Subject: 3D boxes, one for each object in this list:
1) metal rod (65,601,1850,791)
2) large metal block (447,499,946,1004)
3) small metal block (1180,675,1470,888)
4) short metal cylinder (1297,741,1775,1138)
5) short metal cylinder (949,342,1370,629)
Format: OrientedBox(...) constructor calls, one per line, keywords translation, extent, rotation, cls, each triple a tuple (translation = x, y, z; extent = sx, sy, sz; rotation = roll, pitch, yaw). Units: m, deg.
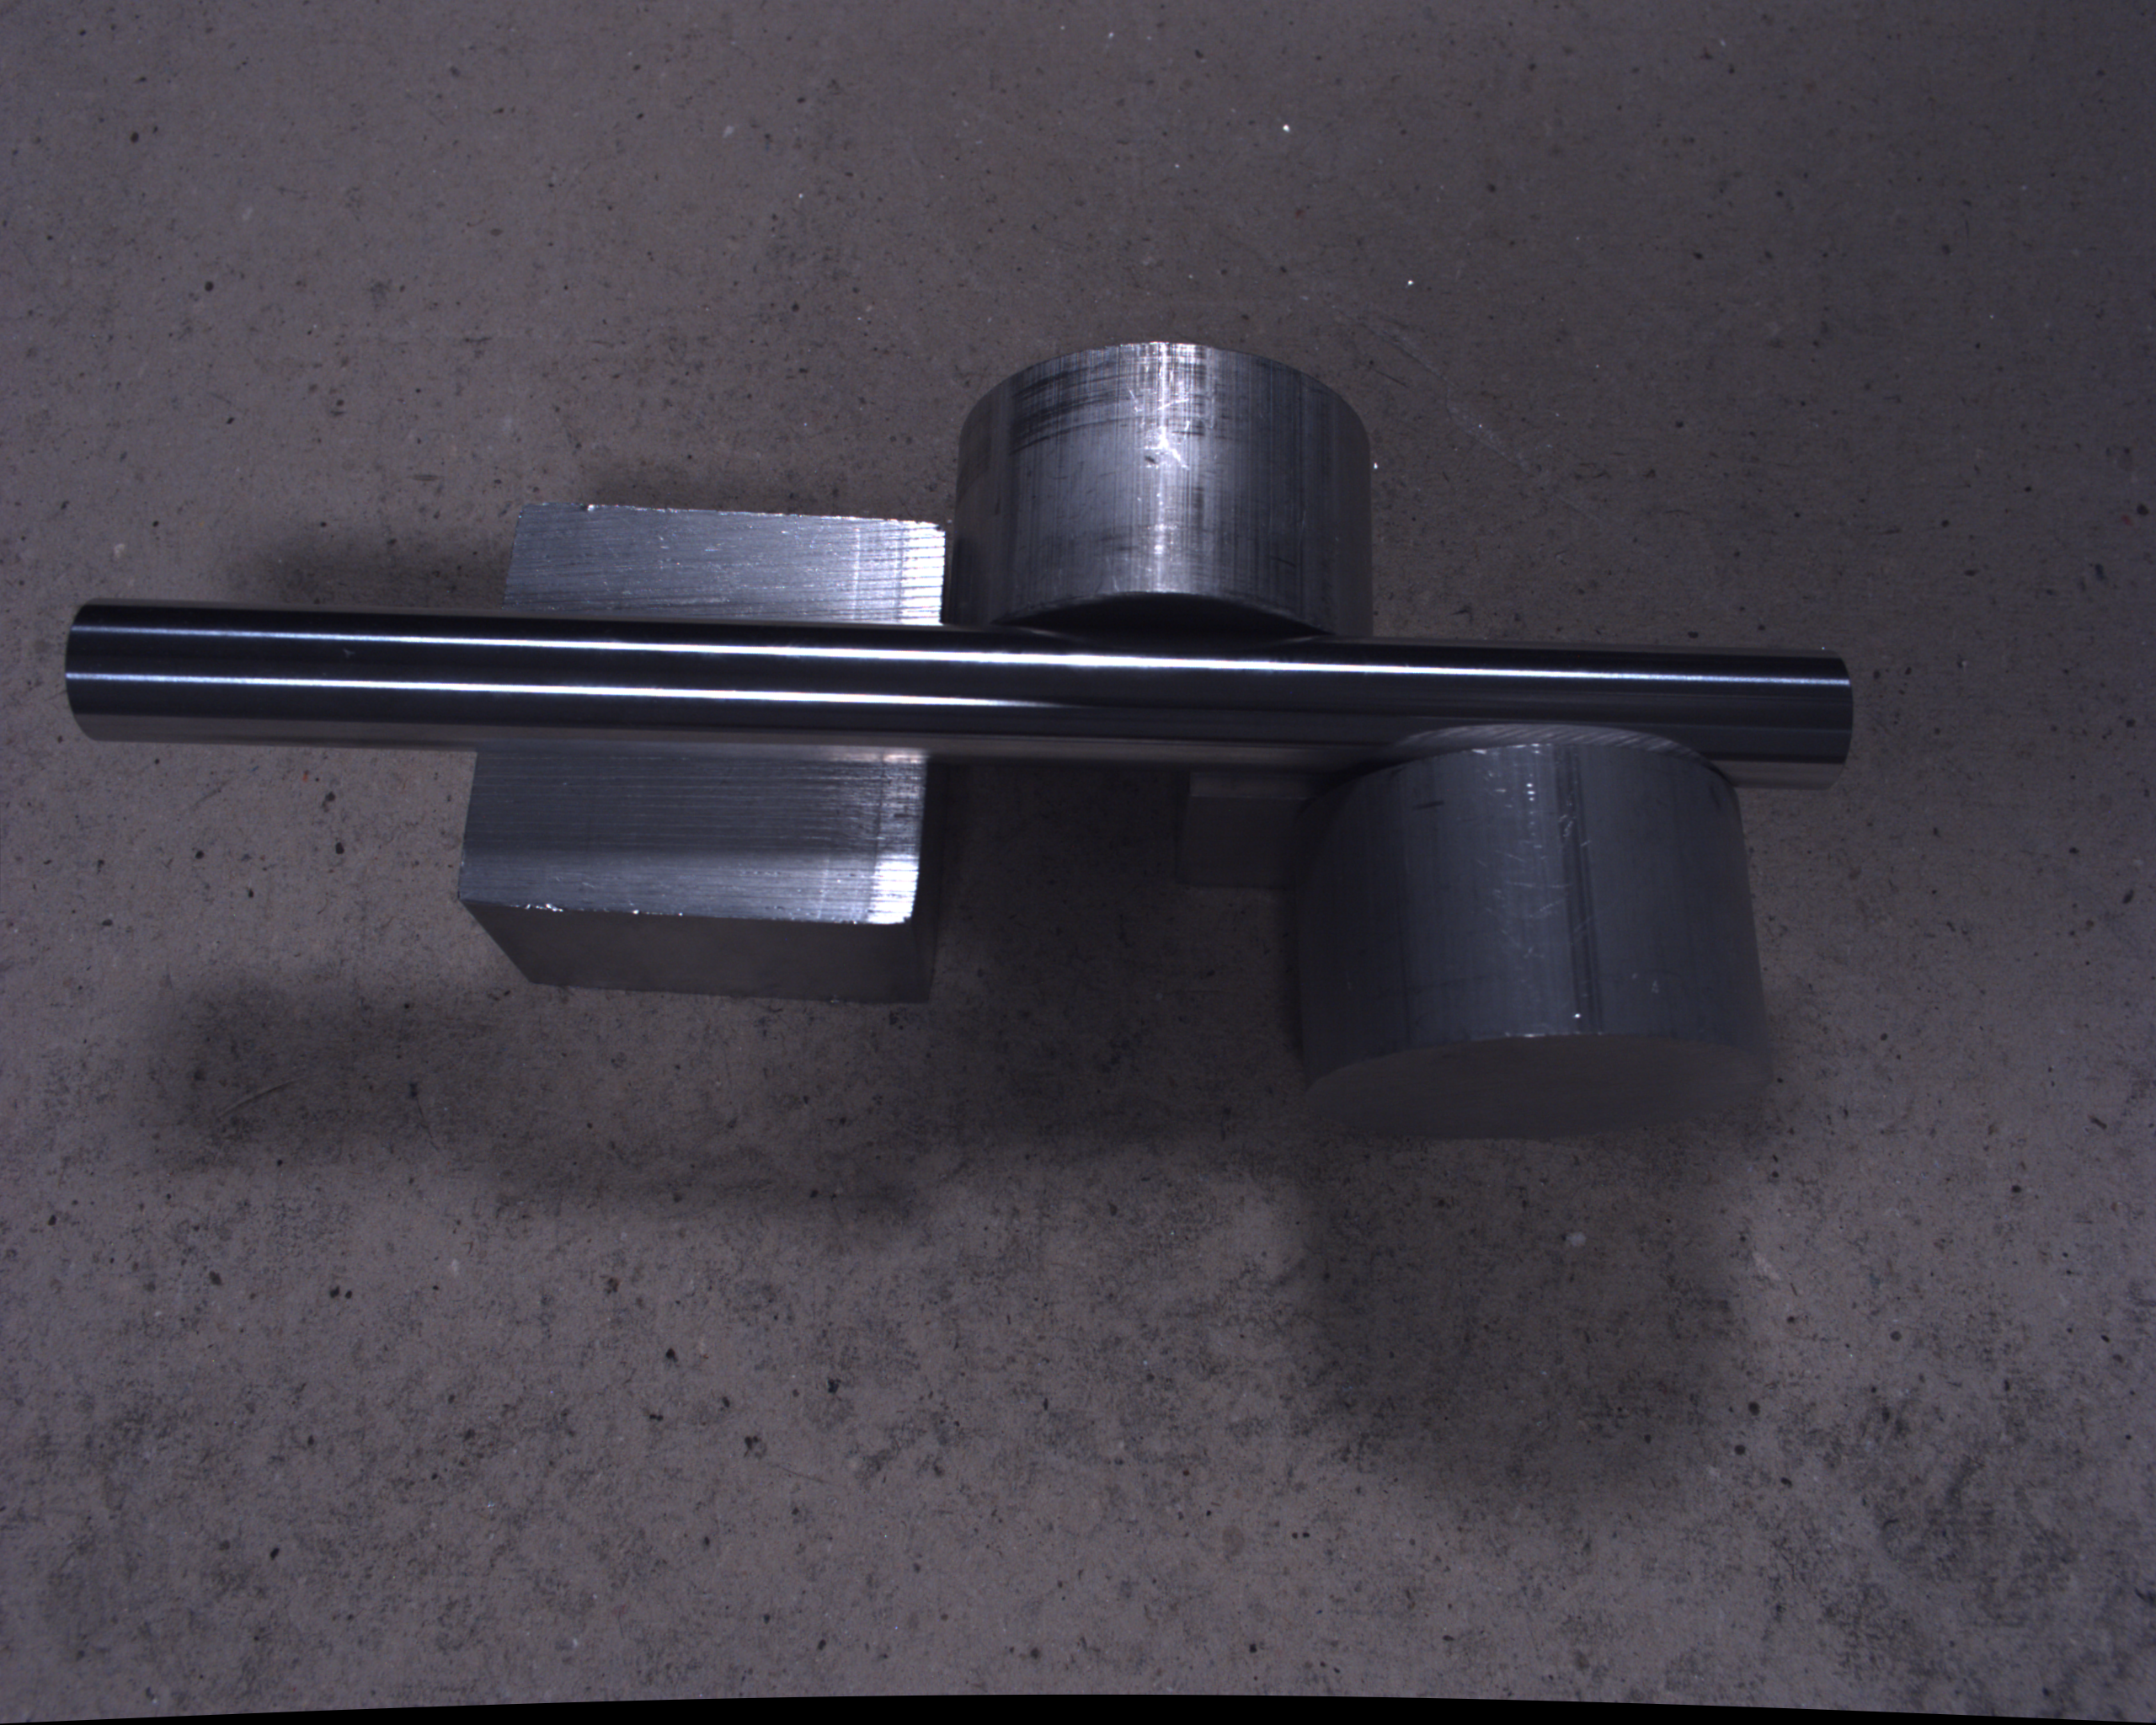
OrientedBox(translation=(-0.019, -0.029, 0.365), extent=(0.302, 0.025, 0.025), rotation=(1, 70, -1), cls="metal rod")
OrientedBox(translation=(-0.067, -0.020, 0.399), extent=(0.081, 0.050, 0.080), rotation=(3, 70, 1), cls="large metal block")
OrientedBox(translation=(0.046, -0.015, 0.401), extent=(0.050, 0.050, 0.025), rotation=(1, 70, 0), cls="small metal block")
OrientedBox(translation=(0.080, 0.017, 0.374), extent=(0.081, 0.080, 0.050), rotation=(0, 70, -1), cls="short metal cylinder")
OrientedBox(translation=(0.016, -0.056, 0.402), extent=(0.081, 0.080, 0.050), rotation=(2, 70, 0), cls="short metal cylinder")
